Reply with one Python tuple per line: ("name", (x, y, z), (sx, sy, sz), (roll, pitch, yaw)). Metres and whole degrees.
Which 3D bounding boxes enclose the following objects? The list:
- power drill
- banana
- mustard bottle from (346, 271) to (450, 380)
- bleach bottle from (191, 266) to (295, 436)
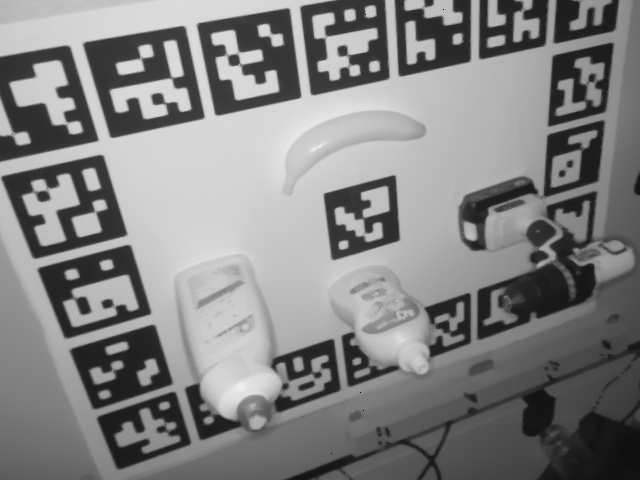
("power drill", (0.287, 0.035, 0.849), (0.186, 0.186, 0.057), (-21, 120, -14))
("banana", (0.062, -0.104, 0.808), (0.199, 0.038, 0.074), (-21, 118, -14))
("mustard bottle", (0.105, 0.110, 0.851), (0.097, 0.191, 0.058), (-21, 120, -7))
("bleach bottle", (-0.075, 0.116, 0.748), (0.104, 0.250, 0.067), (-7, 117, -16))
